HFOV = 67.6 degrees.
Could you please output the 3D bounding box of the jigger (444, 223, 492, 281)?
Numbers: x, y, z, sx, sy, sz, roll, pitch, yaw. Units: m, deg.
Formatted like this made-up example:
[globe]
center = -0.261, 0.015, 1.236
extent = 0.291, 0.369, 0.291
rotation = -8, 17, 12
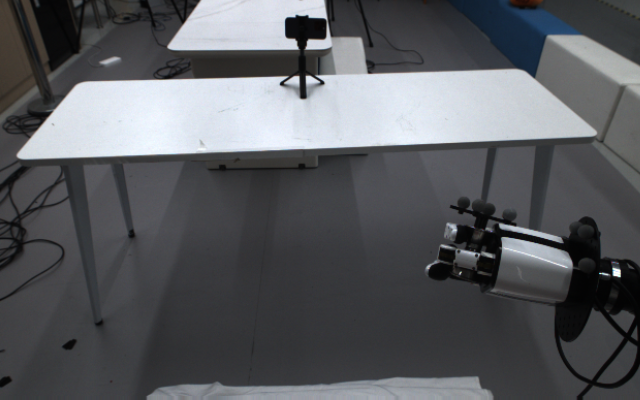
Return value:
[jigger]
center = 0.202, 0.069, 0.640
extent = 0.043, 0.071, 0.043
rotation = 17, 2, -1
